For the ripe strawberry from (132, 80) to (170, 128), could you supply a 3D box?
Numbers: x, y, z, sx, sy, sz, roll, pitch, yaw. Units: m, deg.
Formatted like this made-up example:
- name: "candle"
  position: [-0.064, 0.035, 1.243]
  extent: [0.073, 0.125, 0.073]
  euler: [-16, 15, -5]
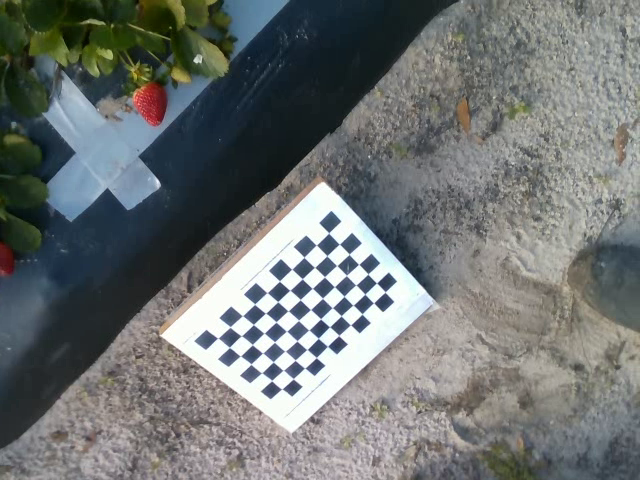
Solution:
- name: "ripe strawberry"
  position: [-0.091, -0.073, 0.377]
  extent: [0.023, 0.026, 0.020]
  euler: [-24, -9, 21]
